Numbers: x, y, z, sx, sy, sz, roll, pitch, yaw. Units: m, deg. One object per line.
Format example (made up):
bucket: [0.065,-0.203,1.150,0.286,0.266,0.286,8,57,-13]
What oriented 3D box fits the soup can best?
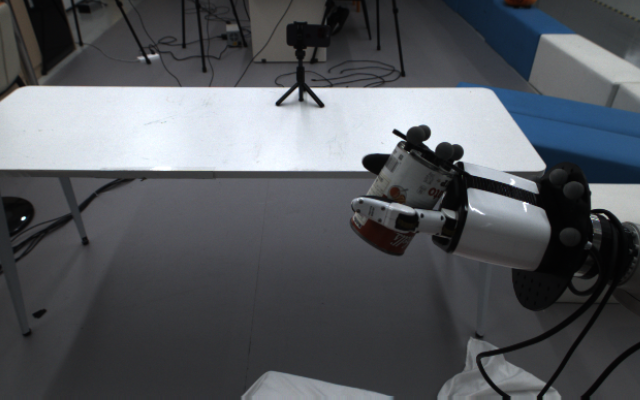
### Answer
soup can: [0.087,-0.002,0.506,0.067,0.101,0.067,27,18,-9]
